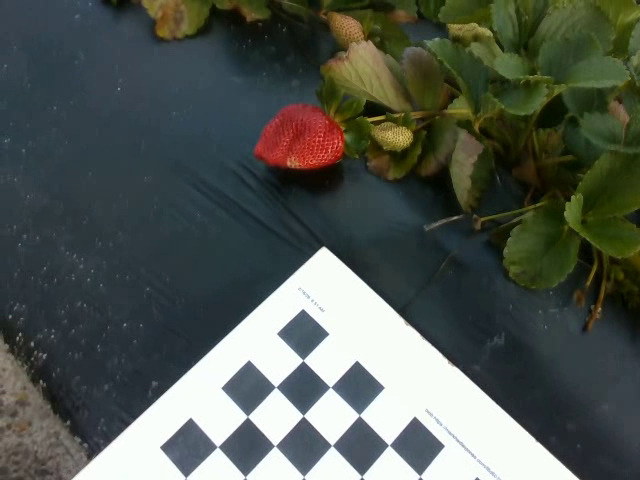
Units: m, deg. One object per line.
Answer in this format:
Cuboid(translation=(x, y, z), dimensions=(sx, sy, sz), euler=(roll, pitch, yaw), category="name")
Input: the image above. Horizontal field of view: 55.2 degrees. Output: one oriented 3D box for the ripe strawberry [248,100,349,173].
Cuboid(translation=(-0.017, -0.077, 0.460), dimensions=(0.074, 0.067, 0.039), euler=(-38, -21, -20), category="ripe strawberry")
